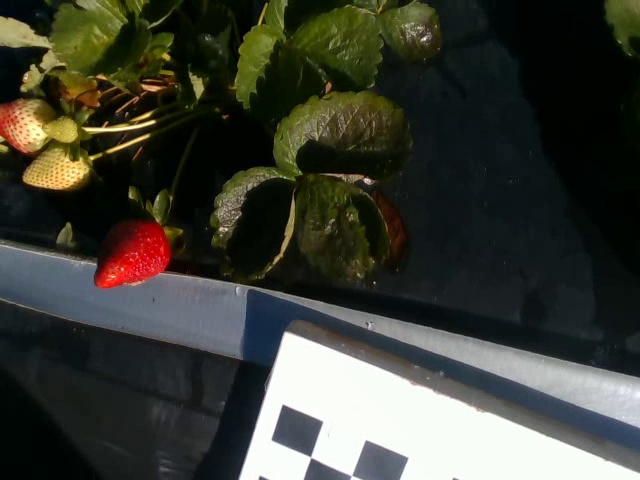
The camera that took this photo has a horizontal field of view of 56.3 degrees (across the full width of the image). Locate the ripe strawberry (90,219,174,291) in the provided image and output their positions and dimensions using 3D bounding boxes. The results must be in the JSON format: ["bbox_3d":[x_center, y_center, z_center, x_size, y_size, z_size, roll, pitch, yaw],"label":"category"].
[{"bbox_3d":[-0.088,0.010,0.267,0.036,0.038,0.046,19,34,12],"label":"ripe strawberry"}]
